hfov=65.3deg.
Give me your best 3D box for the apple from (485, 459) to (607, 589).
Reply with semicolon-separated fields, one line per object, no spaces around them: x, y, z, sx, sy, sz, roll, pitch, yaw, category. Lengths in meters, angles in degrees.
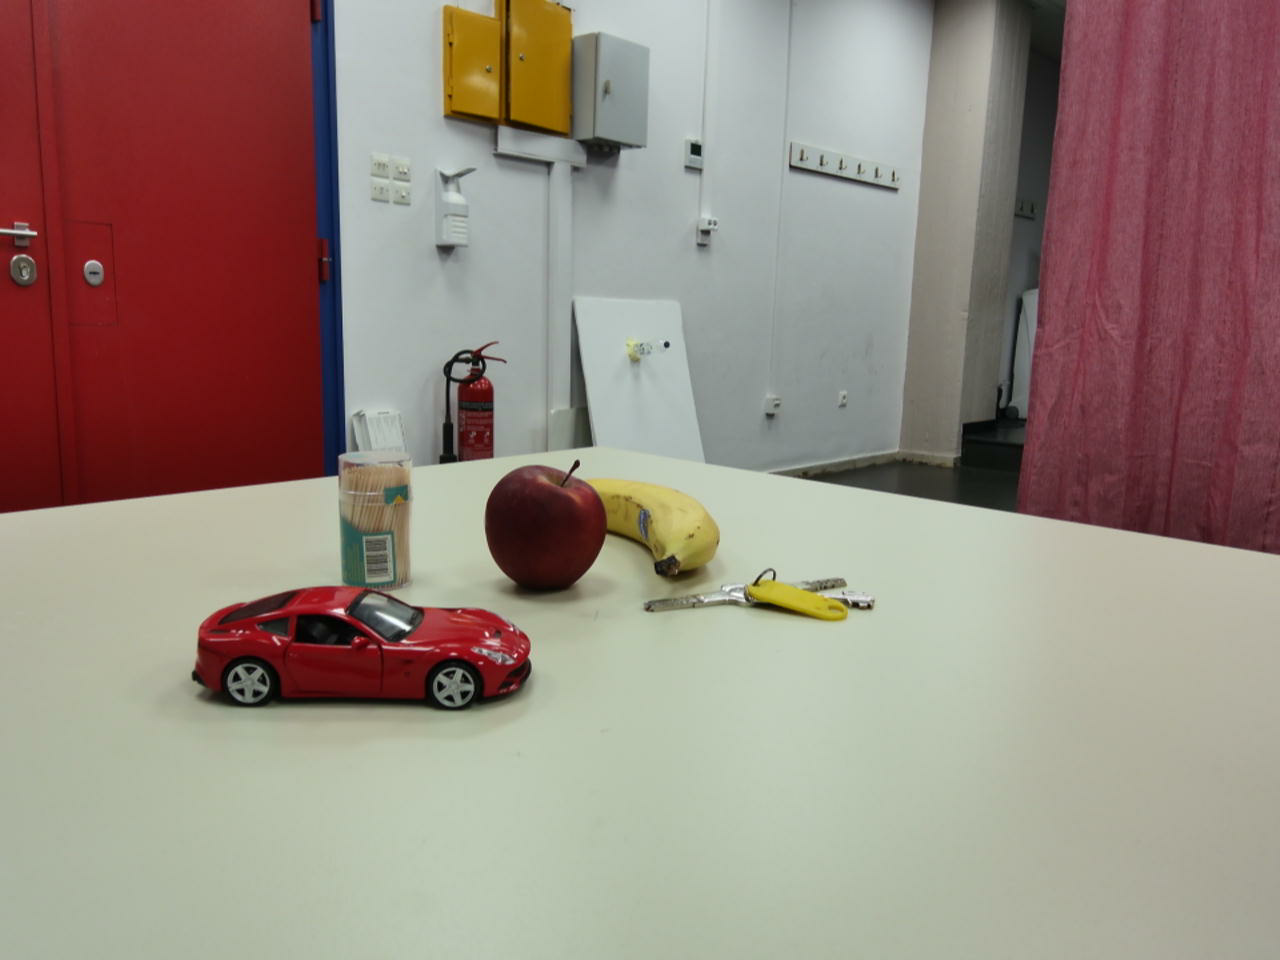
-0.054;0.026;0.576;0.070;0.072;0.070;0;8;0;apple
